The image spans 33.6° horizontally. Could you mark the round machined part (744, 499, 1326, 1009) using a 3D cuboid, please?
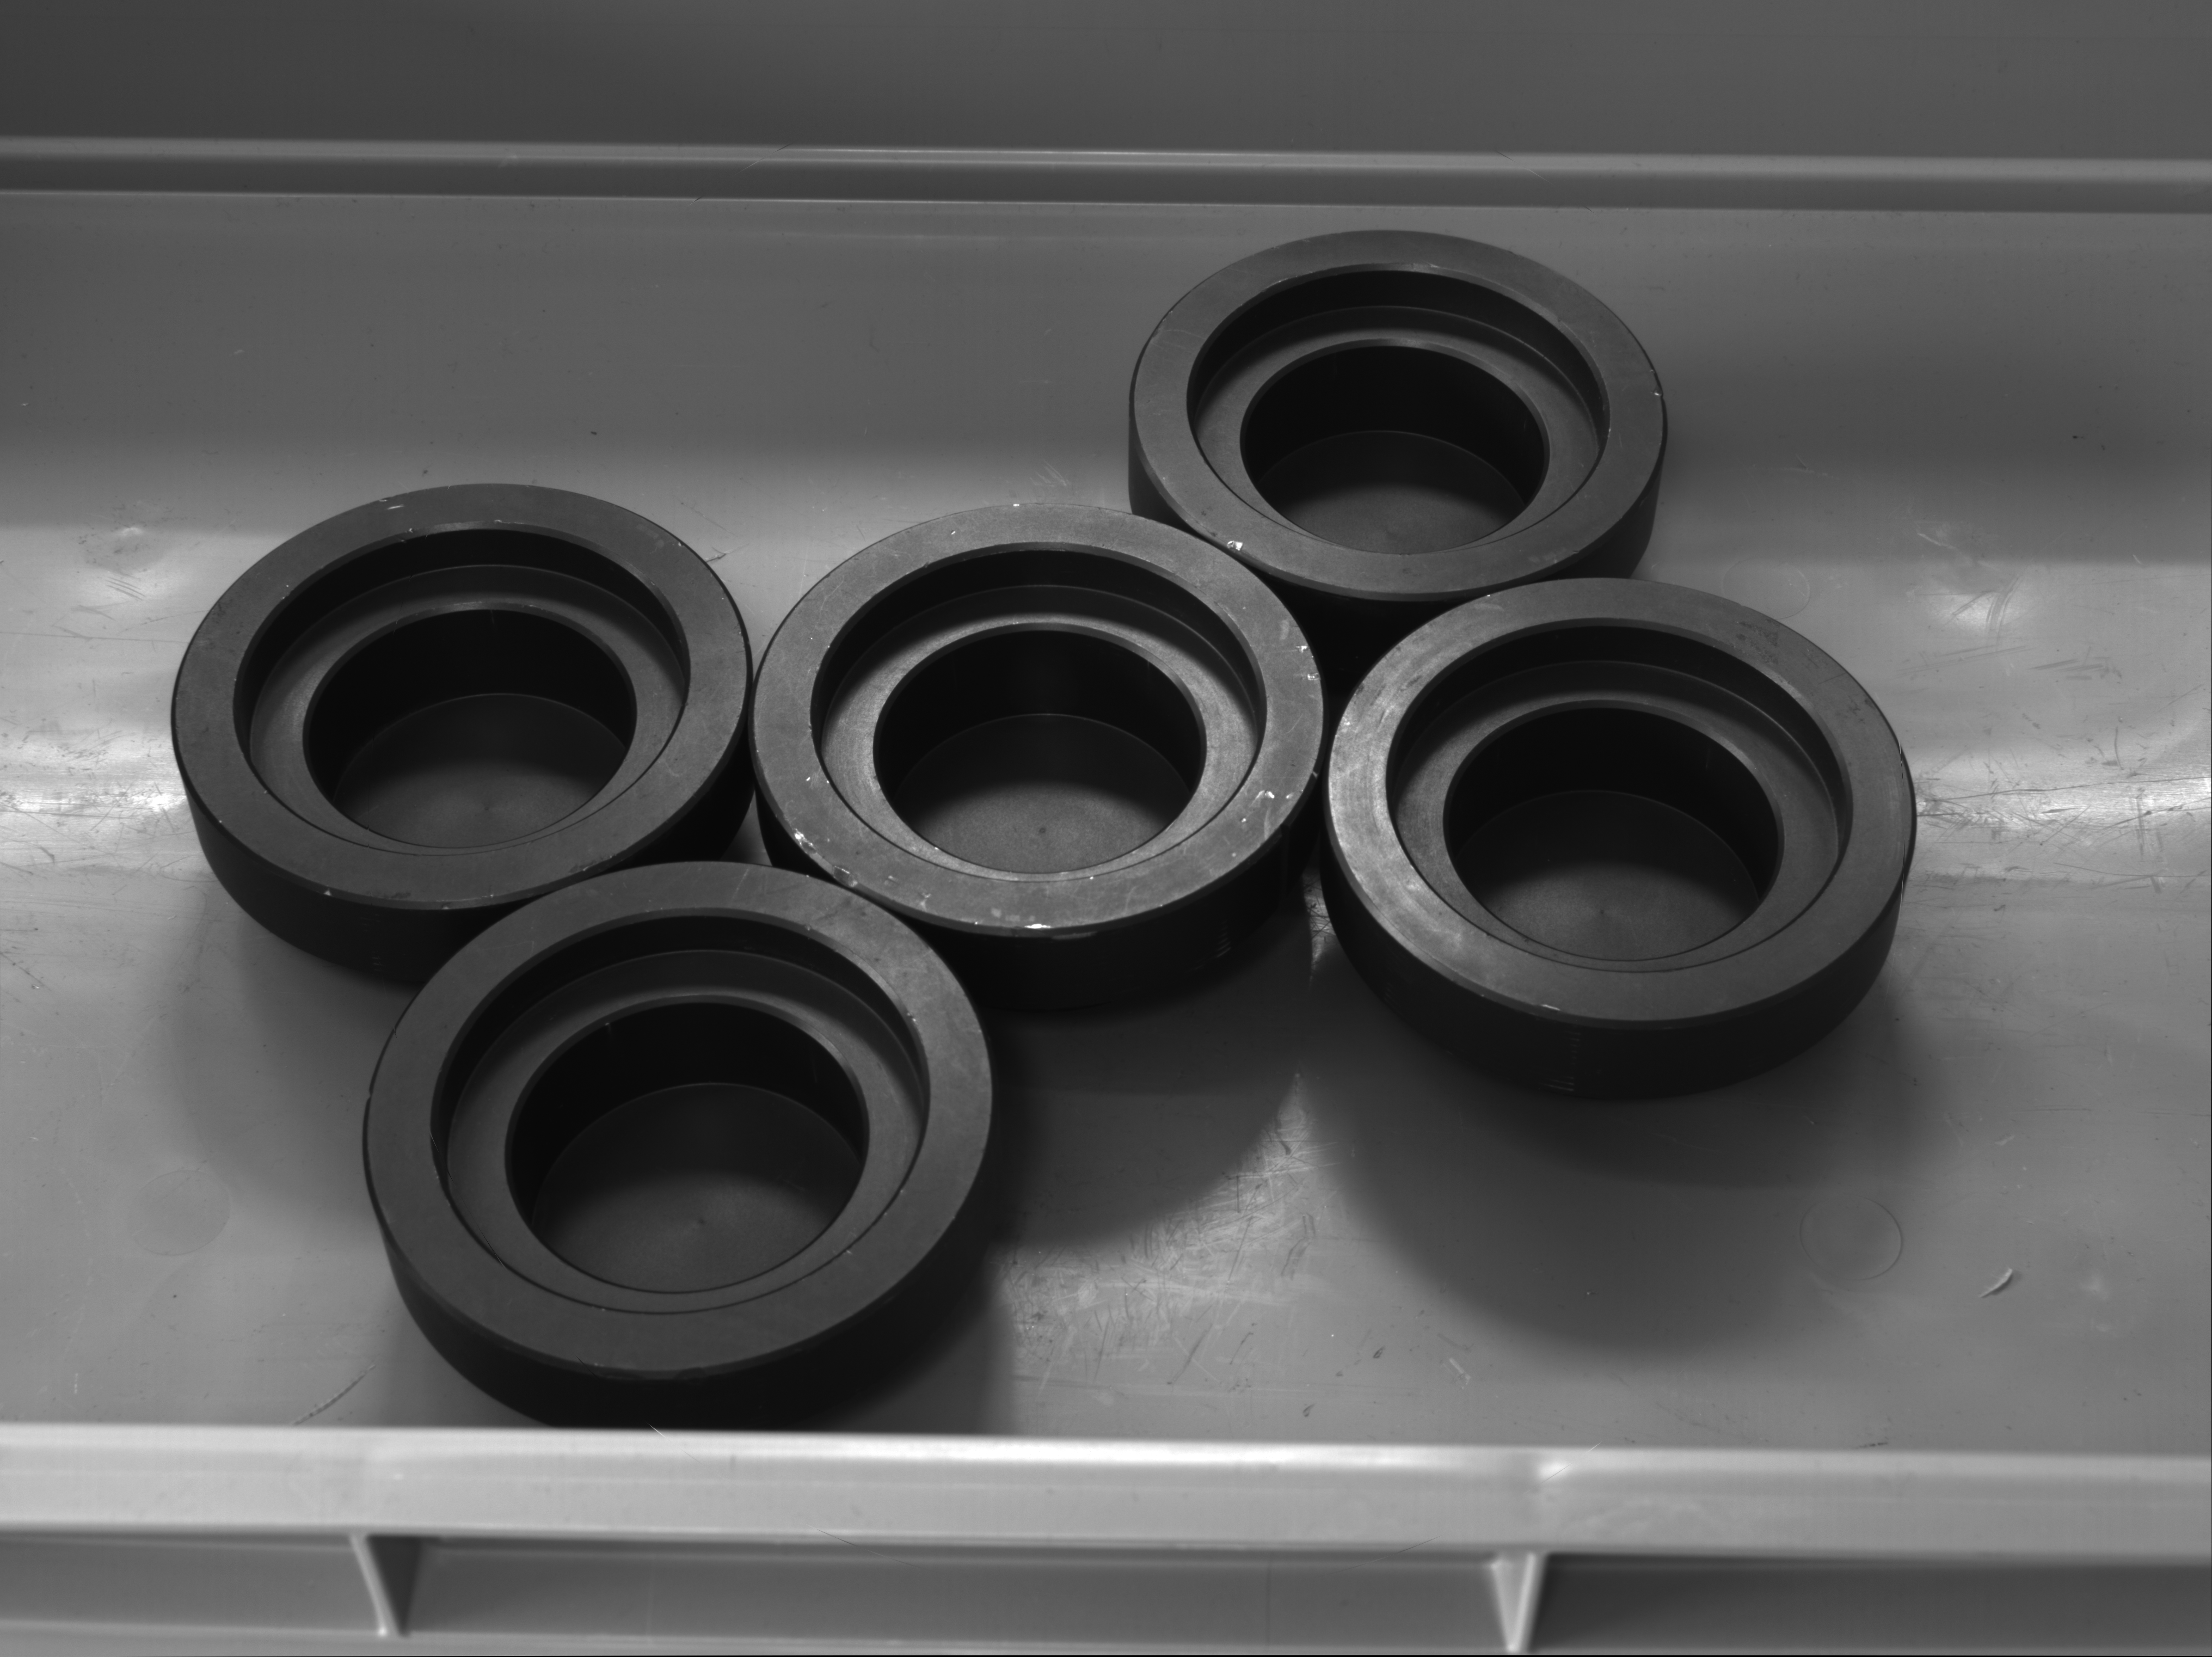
[{"bbox_3d":[-0.012,-0.008,0.634,0.098,0.042,0.098,0,50,0],"label":"round machined part"}]

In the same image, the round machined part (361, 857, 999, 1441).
[{"bbox_3d":[-0.065,0.055,0.581,0.098,0.042,0.098,0,50,0],"label":"round machined part"}]

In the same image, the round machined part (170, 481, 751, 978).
[{"bbox_3d":[-0.109,-0.012,0.638,0.098,0.042,0.098,0,50,0],"label":"round machined part"}]

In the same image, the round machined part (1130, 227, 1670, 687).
[{"bbox_3d":[0.053,-0.064,0.682,0.098,0.042,0.098,0,50,0],"label":"round machined part"}]

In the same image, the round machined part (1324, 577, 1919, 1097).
[{"bbox_3d":[0.085,0.006,0.622,0.098,0.042,0.098,0,50,0],"label":"round machined part"}]
